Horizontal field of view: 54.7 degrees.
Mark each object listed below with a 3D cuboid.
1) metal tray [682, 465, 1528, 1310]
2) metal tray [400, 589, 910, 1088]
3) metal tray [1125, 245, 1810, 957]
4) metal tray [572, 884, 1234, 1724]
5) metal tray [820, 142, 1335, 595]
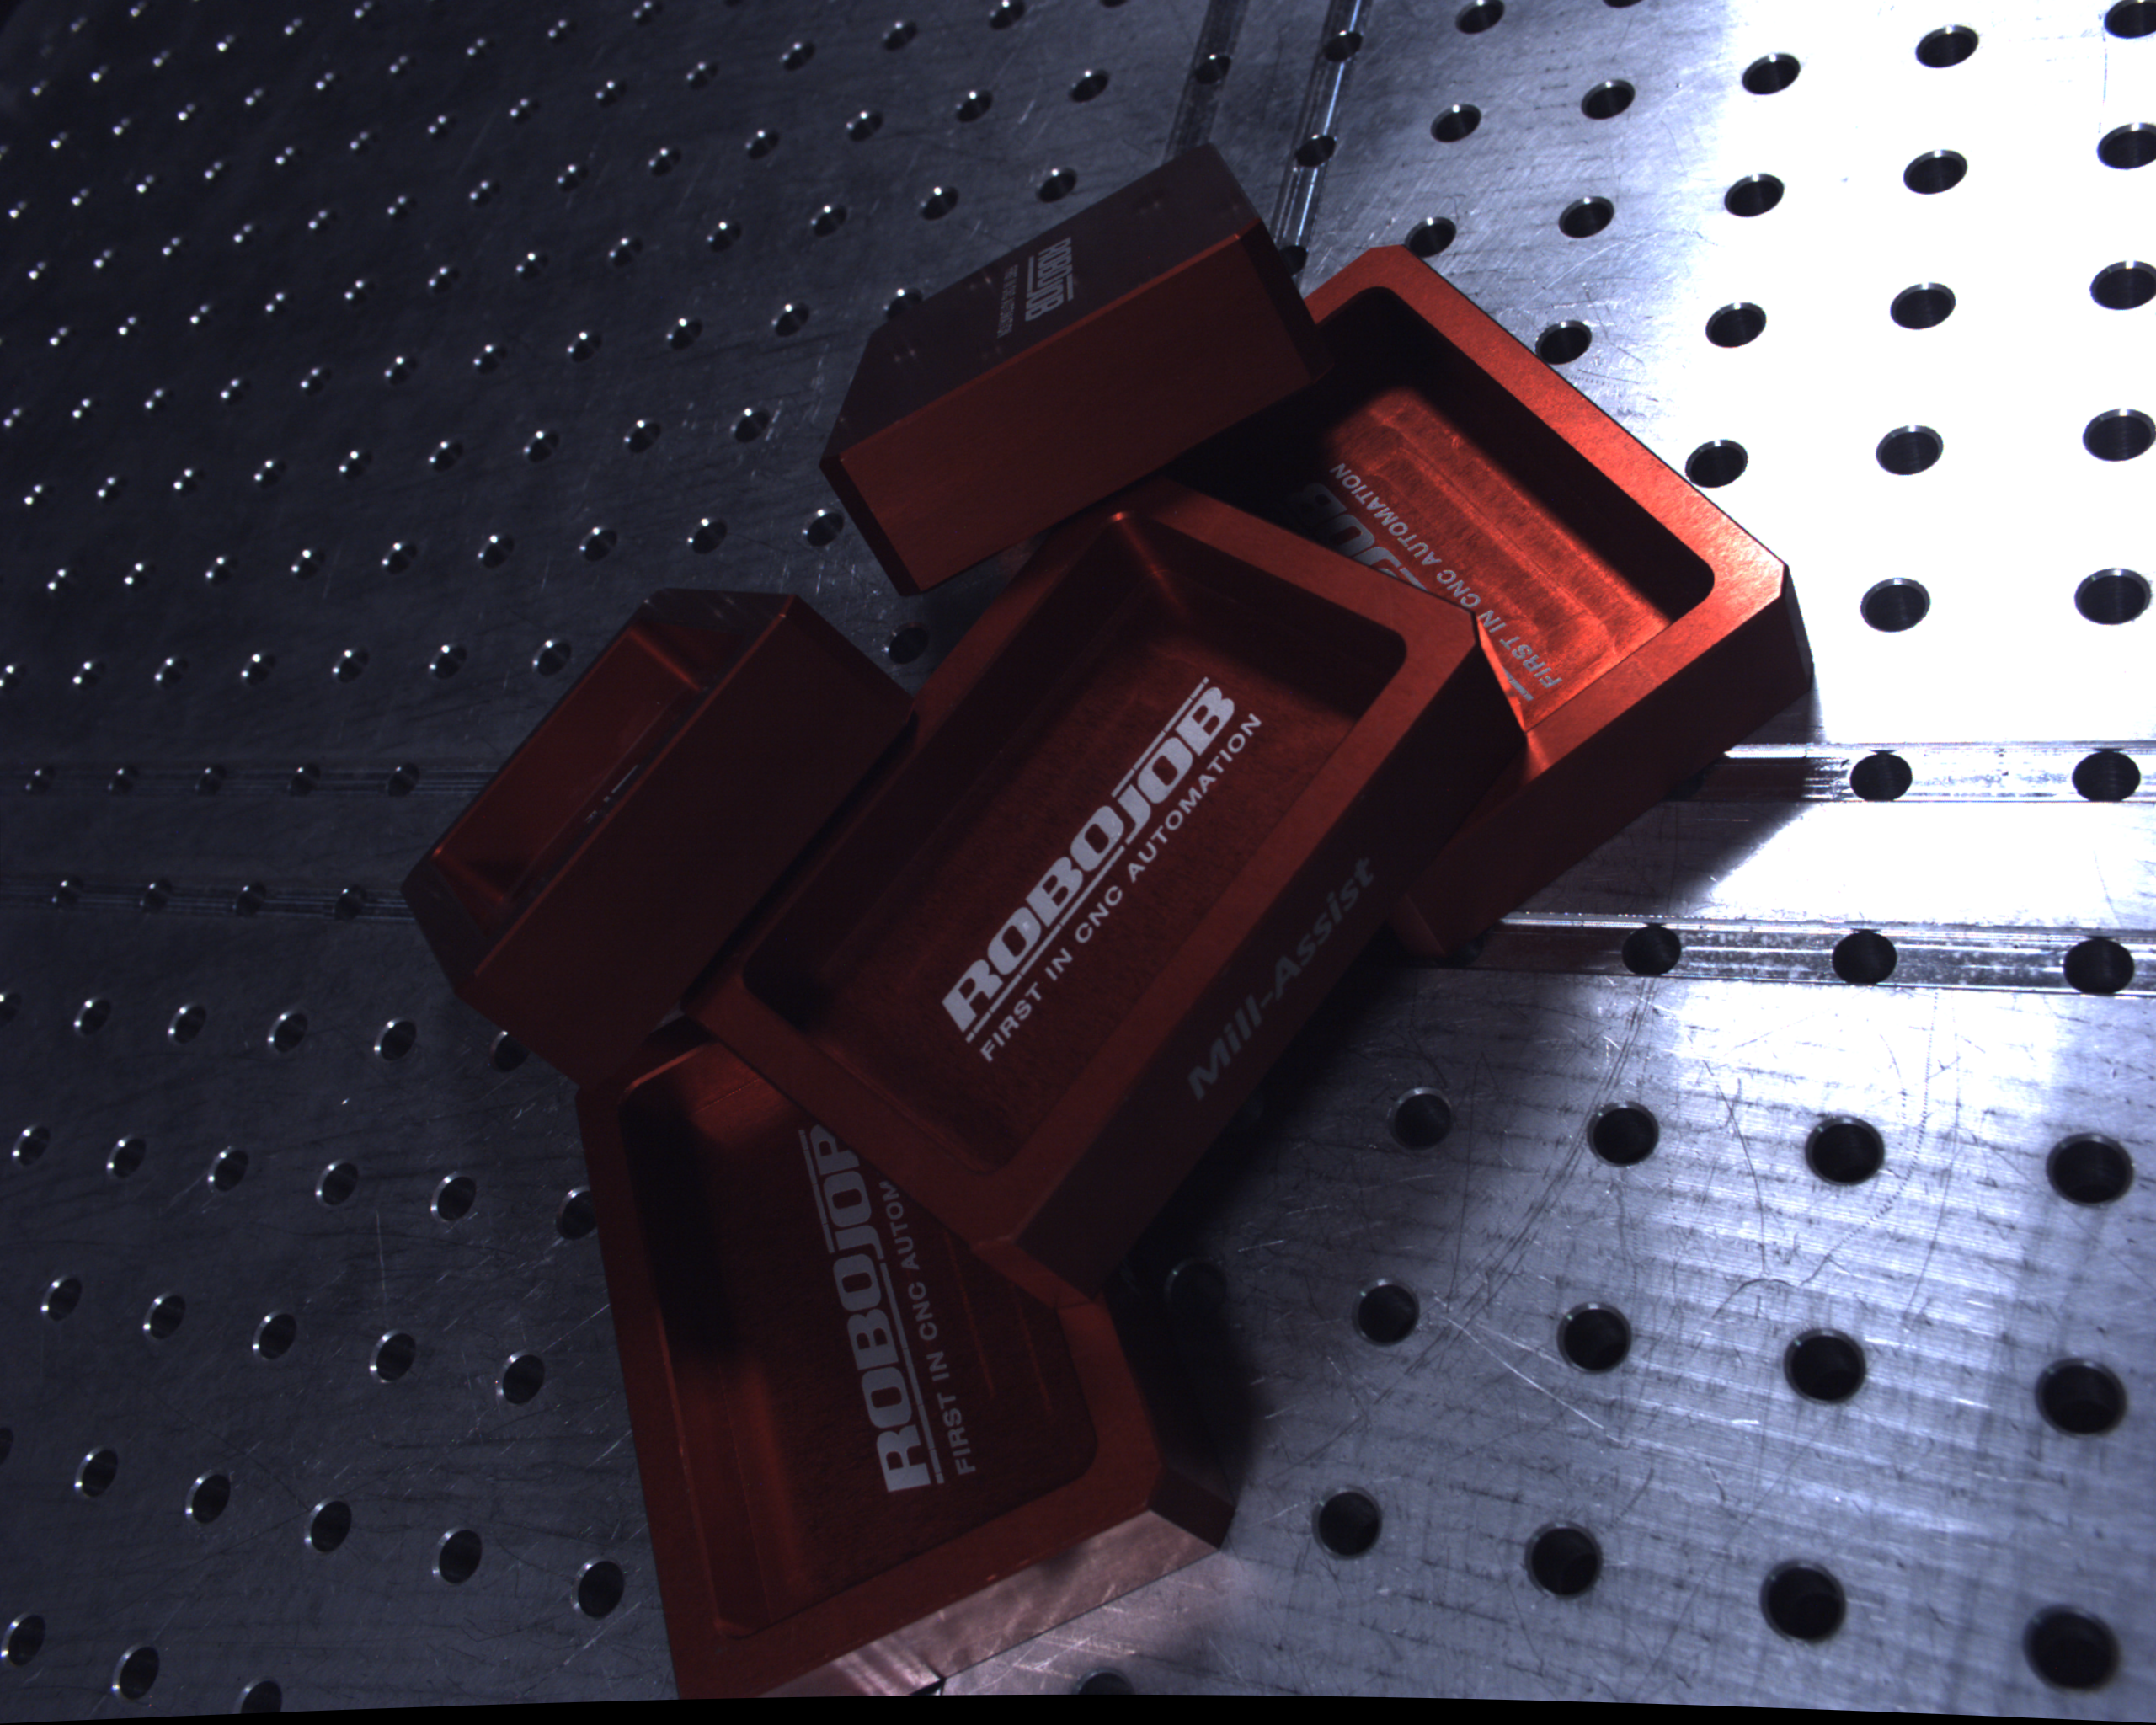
[{"bbox_3d":[0.003,0.000,0.364,0.090,0.030,0.130,32,79,37],"label":"metal tray"},{"bbox_3d":[-0.090,-0.012,0.418,0.090,0.030,0.130,-51,22,-8],"label":"metal tray"},{"bbox_3d":[0.064,-0.055,0.404,0.090,0.030,0.130,-37,51,3],"label":"metal tray"},{"bbox_3d":[-0.037,0.076,0.376,0.090,0.030,0.130,-29,52,9],"label":"metal tray"},{"bbox_3d":[-0.001,-0.106,0.431,0.090,0.030,0.130,-27,23,11],"label":"metal tray"}]
